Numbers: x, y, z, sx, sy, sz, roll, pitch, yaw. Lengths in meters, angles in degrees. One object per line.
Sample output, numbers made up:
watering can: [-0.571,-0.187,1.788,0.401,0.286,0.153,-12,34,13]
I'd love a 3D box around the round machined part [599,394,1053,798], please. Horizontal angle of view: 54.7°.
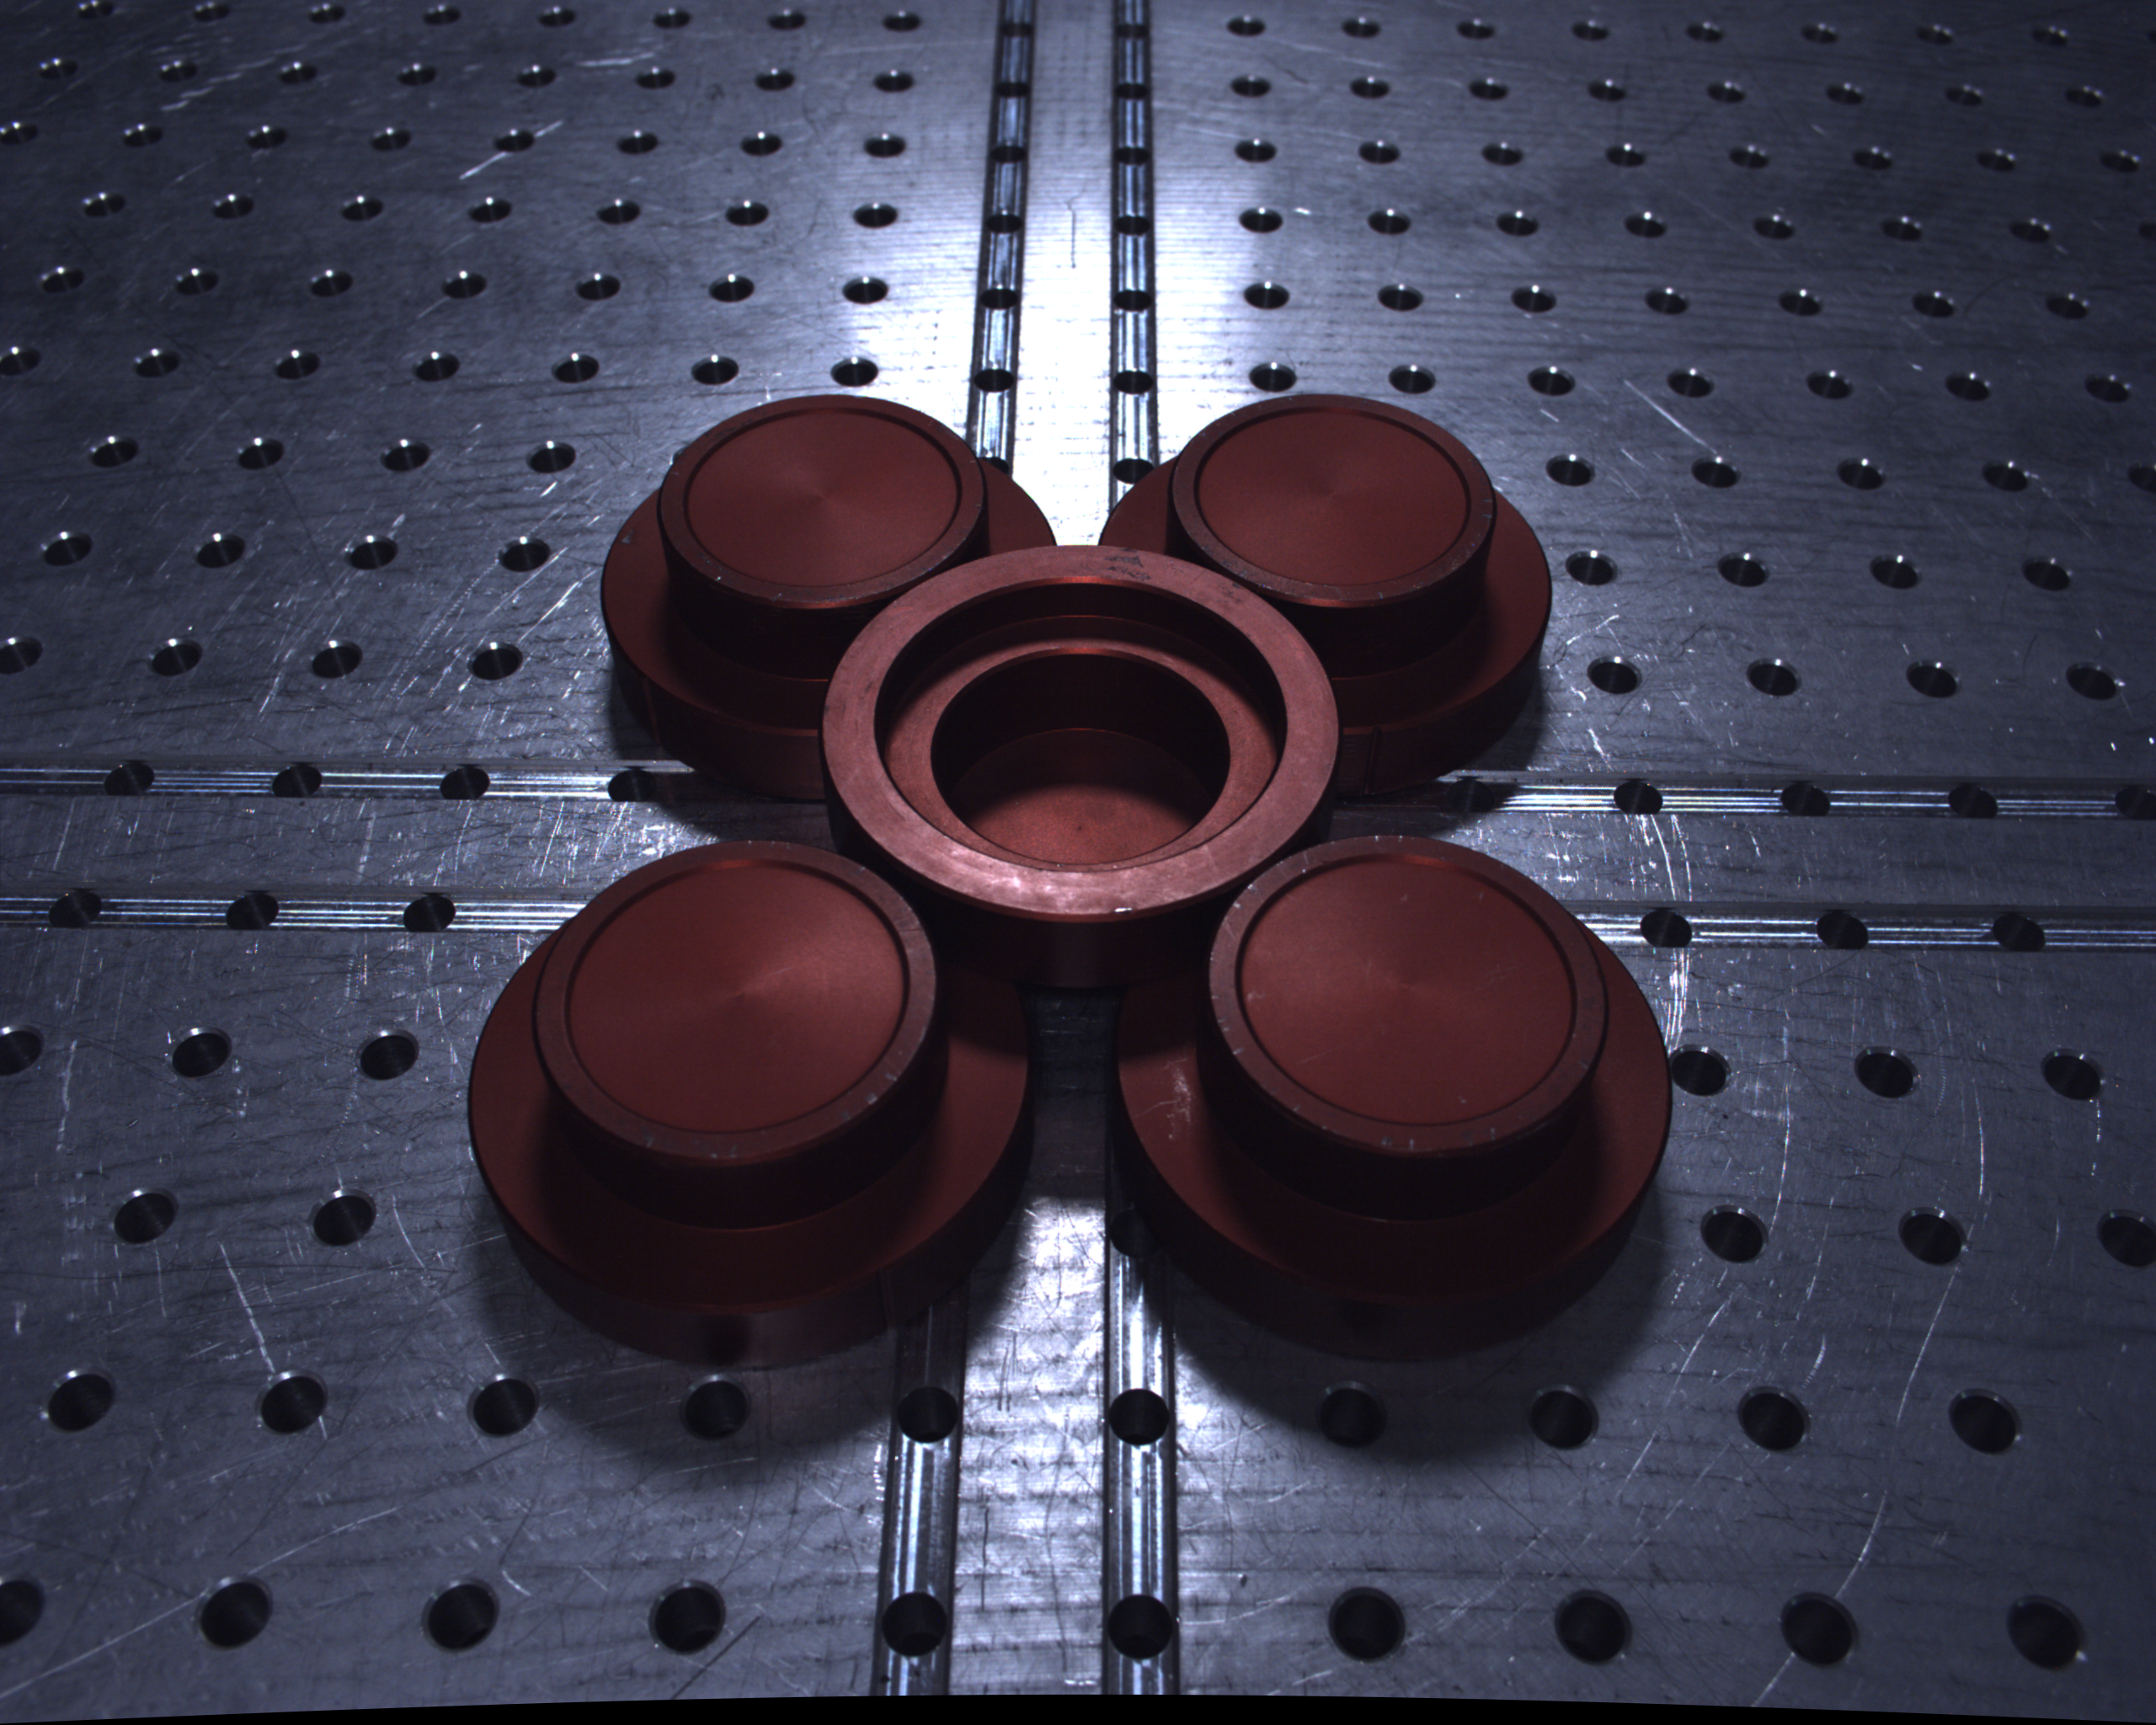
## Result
round machined part: [-0.053,-0.063,0.448,0.099,0.042,0.098,0,50,0]

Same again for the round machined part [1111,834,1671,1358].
round machined part: [0.055,0.034,0.368,0.099,0.042,0.098,0,50,0]

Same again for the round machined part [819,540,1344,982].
round machined part: [0.001,-0.015,0.407,0.099,0.042,0.098,0,50,0]

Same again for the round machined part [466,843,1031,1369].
round machined part: [-0.058,0.035,0.367,0.099,0.042,0.098,0,50,0]

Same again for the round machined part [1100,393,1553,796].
round machined part: [0.053,-0.064,0.450,0.099,0.042,0.098,0,50,0]
